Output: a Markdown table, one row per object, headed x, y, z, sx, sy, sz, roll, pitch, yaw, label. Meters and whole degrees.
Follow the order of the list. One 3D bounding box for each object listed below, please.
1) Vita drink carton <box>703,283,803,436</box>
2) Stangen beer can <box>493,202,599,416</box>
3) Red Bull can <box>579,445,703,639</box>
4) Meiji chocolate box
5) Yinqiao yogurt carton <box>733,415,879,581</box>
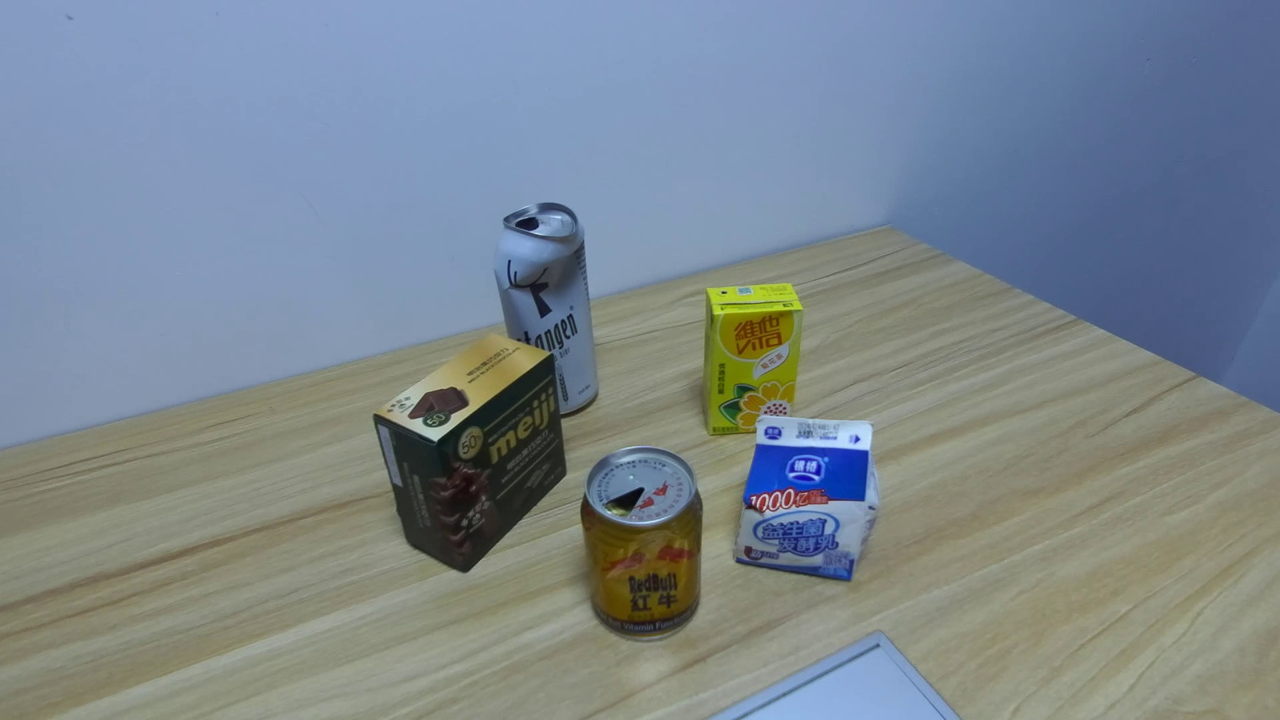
| x | y | z | sx | sy | sz | roll | pitch | yaw | label |
| --- | --- | --- | --- | --- | --- | --- | --- | --- | --- |
| 0.083 | 0.000 | 0.531 | 0.066 | 0.109 | 0.043 | -3 | 34 | -3 | Vita drink carton |
| -0.070 | -0.035 | 0.550 | 0.066 | 0.162 | 0.077 | -5 | 33 | -2 | Stangen beer can |
| 0.002 | 0.103 | 0.398 | 0.069 | 0.092 | 0.069 | -1 | 33 | 1 | Red Bull can |
| -0.104 | 0.058 | 0.462 | 0.056 | 0.109 | 0.110 | 17 | 38 | 27 | Meiji chocolate box |
| 0.104 | 0.072 | 0.434 | 0.083 | 0.093 | 0.077 | 6 | 35 | 13 | Yinqiao yogurt carton |
